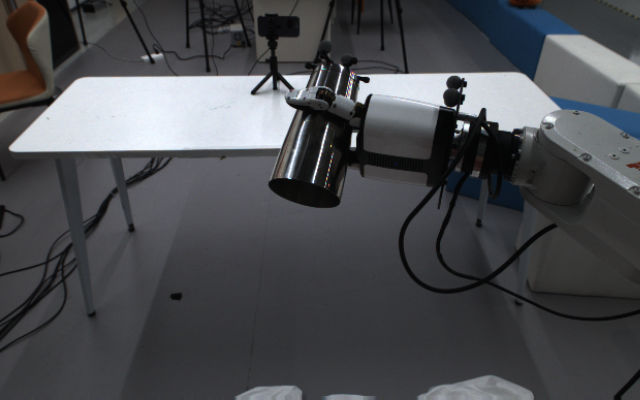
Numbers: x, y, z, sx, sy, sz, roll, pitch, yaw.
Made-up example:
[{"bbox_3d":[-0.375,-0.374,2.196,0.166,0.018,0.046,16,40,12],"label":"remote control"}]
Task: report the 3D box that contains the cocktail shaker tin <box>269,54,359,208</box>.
[{"bbox_3d":[0.001,-0.085,0.618,0.093,0.093,0.170,11,72,12],"label":"cocktail shaker tin"}]
